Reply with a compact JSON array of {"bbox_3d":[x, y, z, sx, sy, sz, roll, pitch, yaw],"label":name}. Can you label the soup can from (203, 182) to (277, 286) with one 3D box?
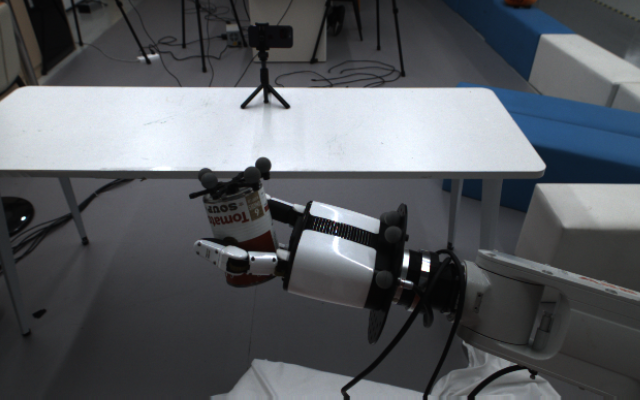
[{"bbox_3d":[-0.081,0.036,0.535,0.067,0.101,0.067,-12,17,4],"label":"soup can"}]
